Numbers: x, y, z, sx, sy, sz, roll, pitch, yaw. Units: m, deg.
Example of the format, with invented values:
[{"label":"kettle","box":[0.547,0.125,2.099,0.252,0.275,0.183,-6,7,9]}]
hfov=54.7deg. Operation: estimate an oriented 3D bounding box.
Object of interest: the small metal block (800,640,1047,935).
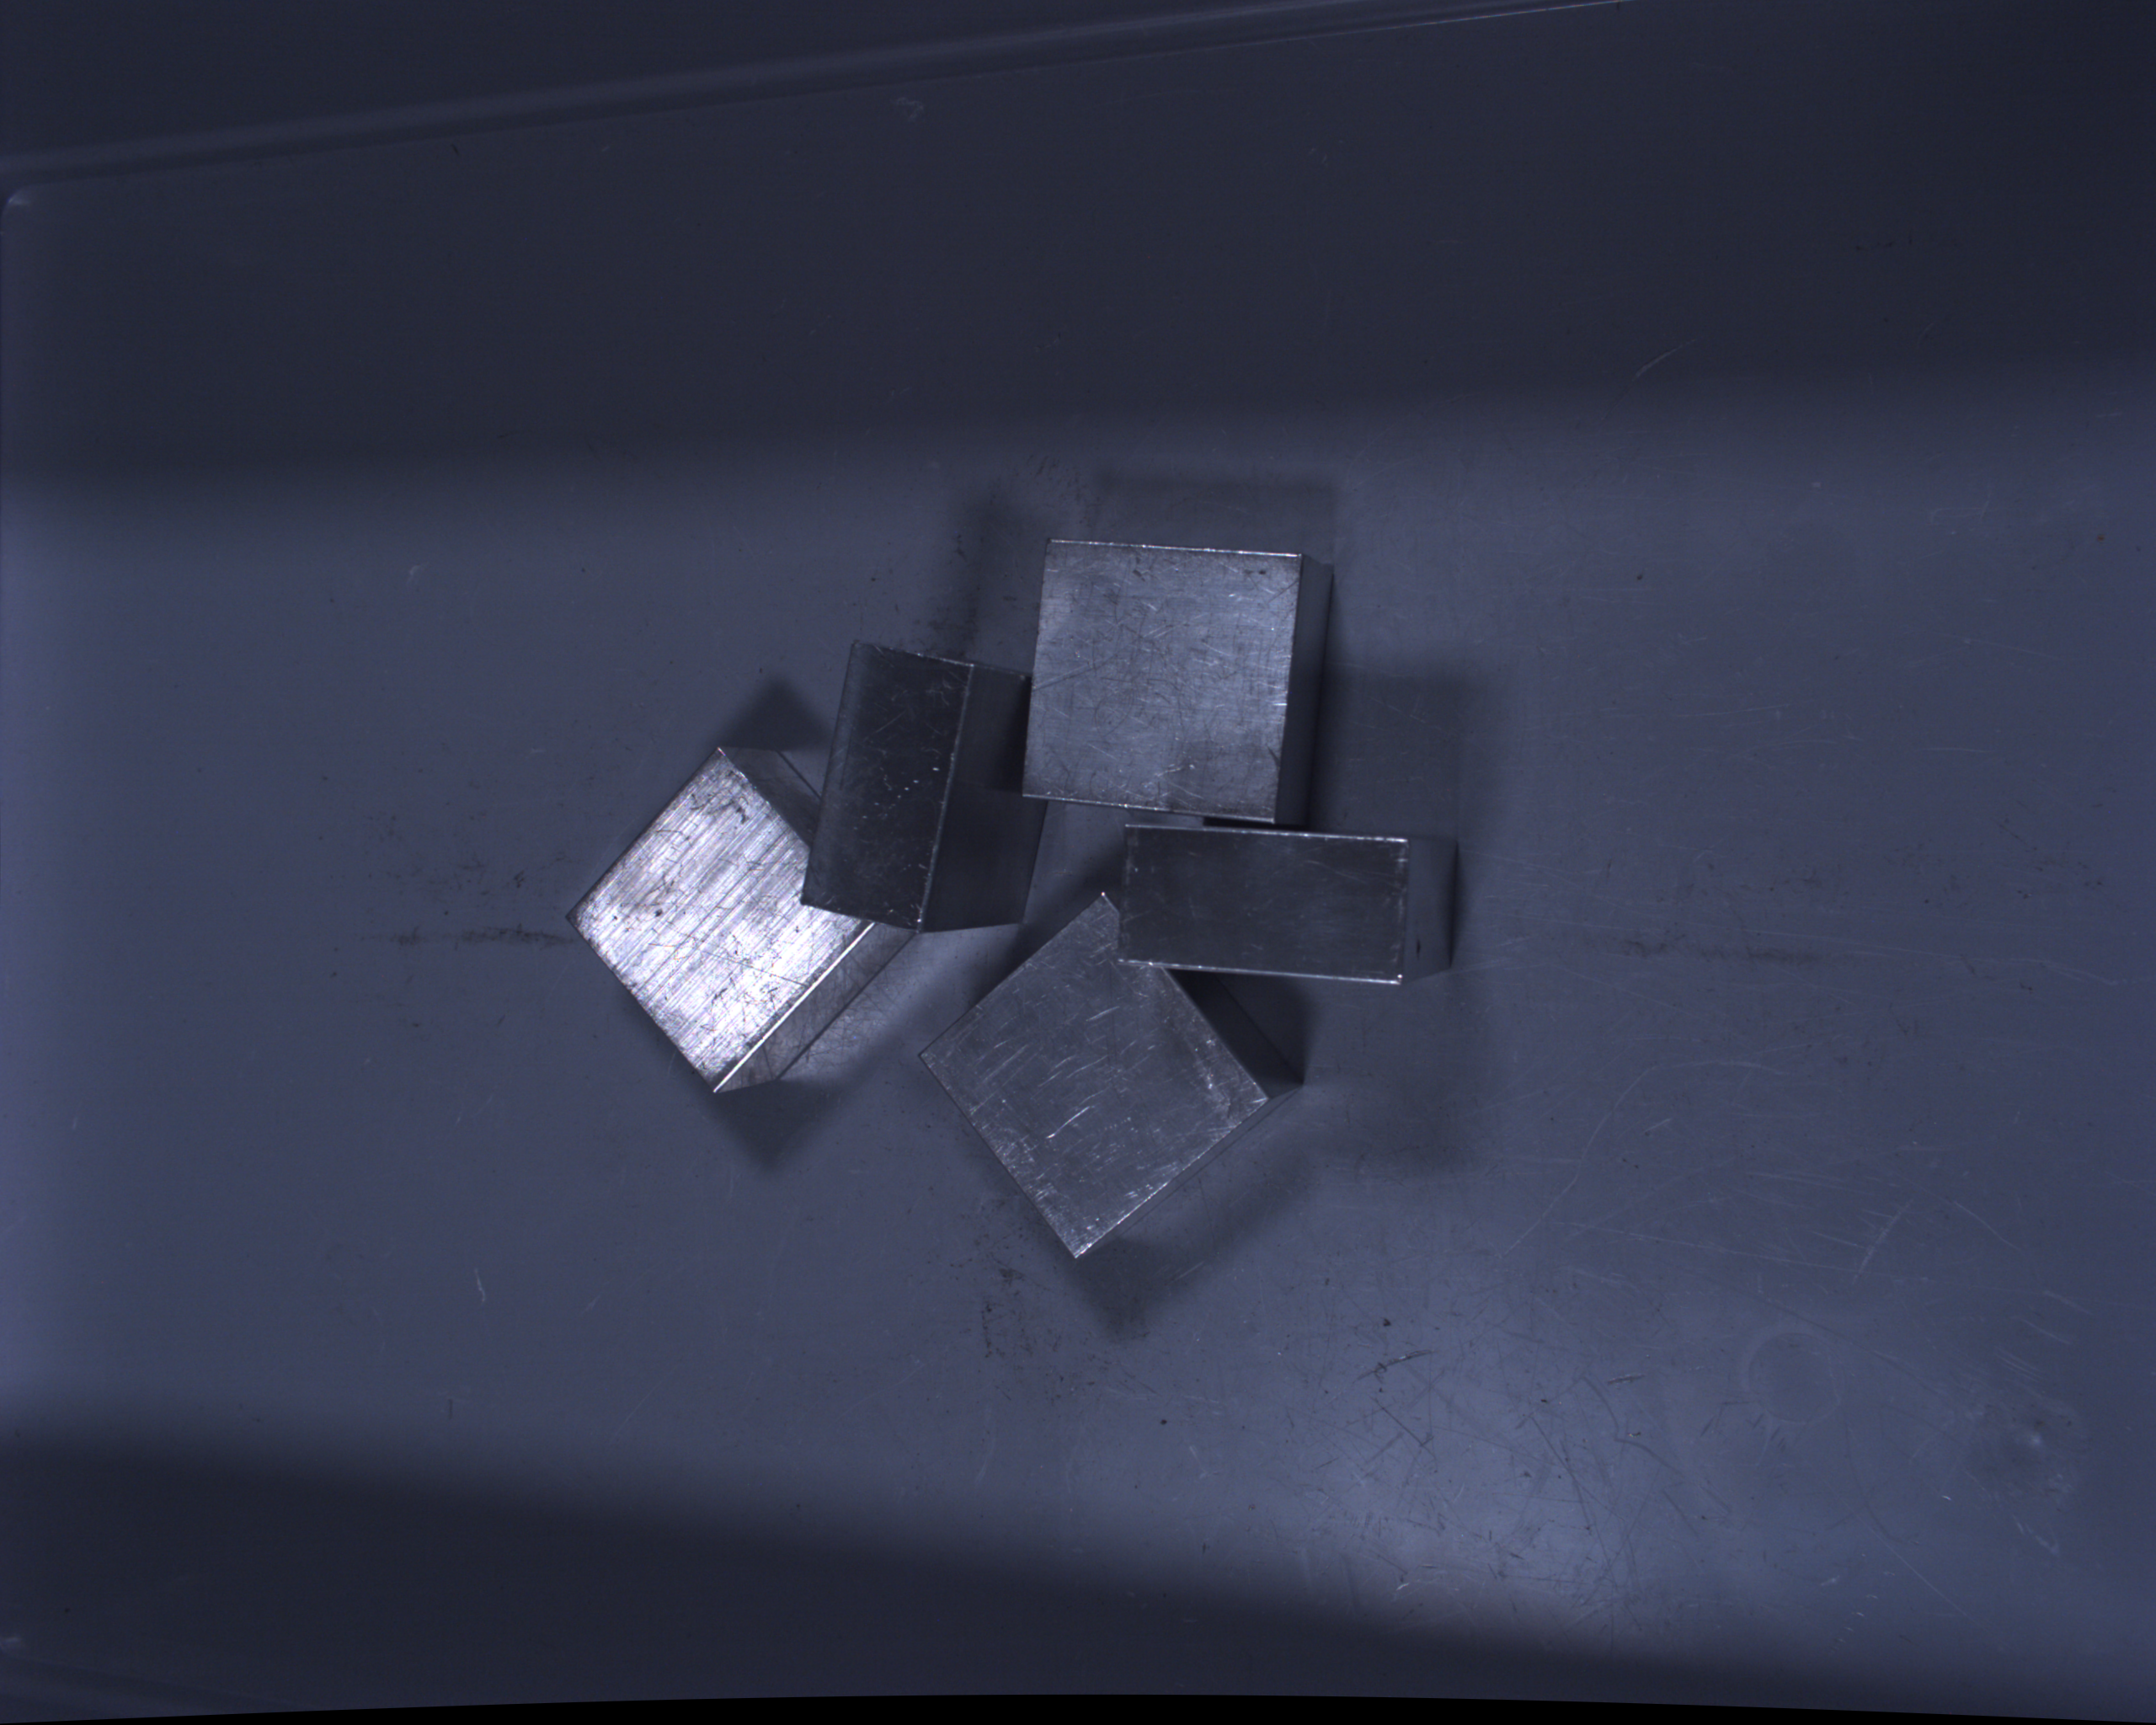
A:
[{"label":"small metal block","box":[-0.026,-0.014,0.403,0.025,0.050,0.050,13,95,19]}]

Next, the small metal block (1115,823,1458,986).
[{"label":"small metal block","box":[0.039,0.007,0.380,0.050,0.050,0.025,3,91,19]}]

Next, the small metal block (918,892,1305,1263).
[{"label":"small metal block","box":[0.007,0.041,0.405,0.050,0.025,0.050,-42,77,15]}]

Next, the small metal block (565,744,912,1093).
[{"label":"small metal block","box":[-0.068,0.011,0.431,0.050,0.025,0.050,-46,76,14]}]

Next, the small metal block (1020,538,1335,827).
[{"label":"small metal block","box":[0.019,-0.034,0.401,0.050,0.025,0.050,7,92,19]}]
